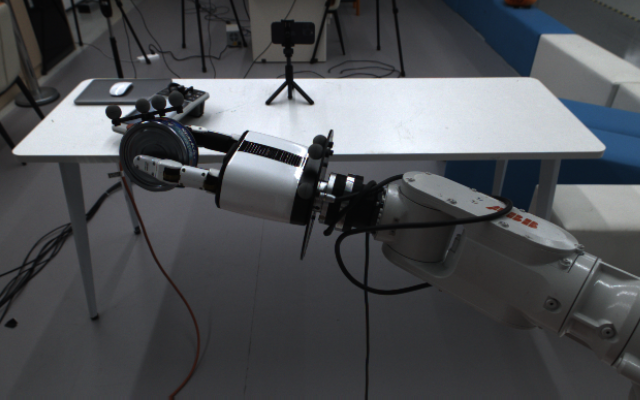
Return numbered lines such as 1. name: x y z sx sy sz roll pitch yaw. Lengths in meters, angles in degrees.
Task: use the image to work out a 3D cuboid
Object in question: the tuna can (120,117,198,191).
1. tuna can: -0.187 -0.047 0.571 0.085 0.085 0.034 6 18 5
